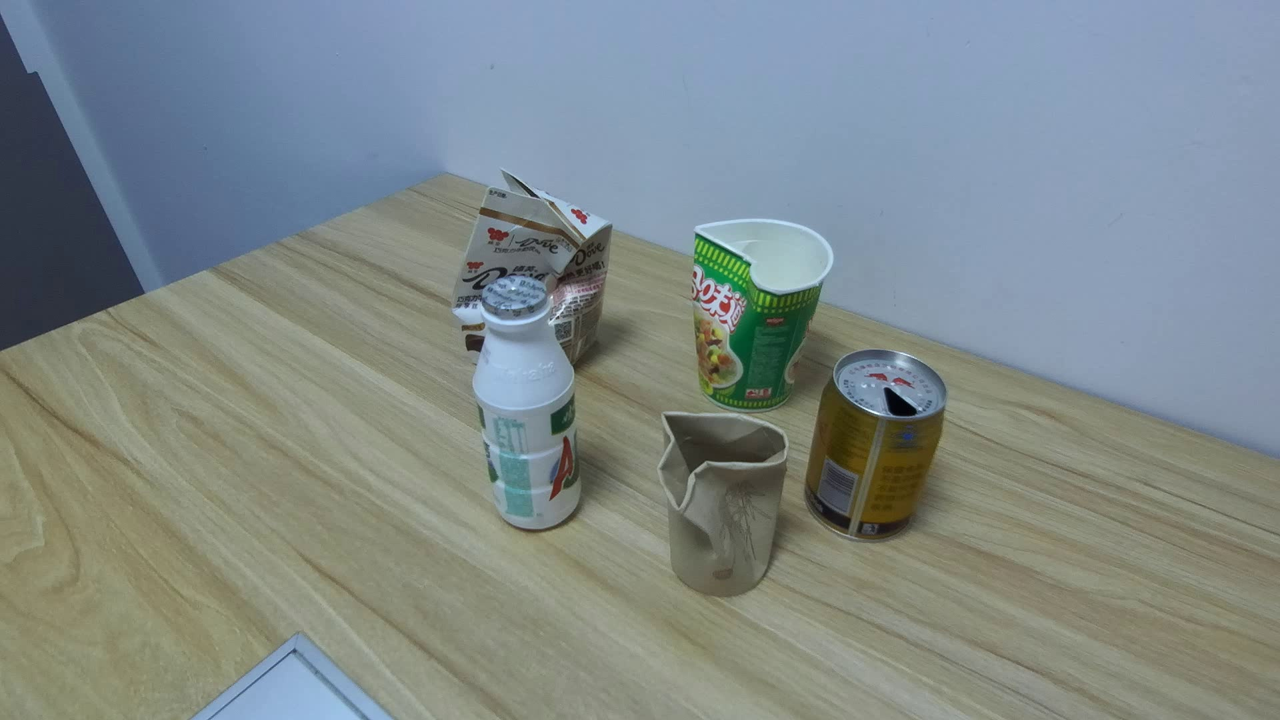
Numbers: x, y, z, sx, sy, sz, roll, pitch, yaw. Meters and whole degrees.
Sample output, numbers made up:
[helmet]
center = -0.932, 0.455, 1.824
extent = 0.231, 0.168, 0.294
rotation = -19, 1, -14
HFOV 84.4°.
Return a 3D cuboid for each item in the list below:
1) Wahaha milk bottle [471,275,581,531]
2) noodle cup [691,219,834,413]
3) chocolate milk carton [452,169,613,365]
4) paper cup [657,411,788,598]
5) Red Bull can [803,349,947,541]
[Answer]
[Wahaha milk bottle]
center = -0.061, 0.027, 0.383
extent = 0.053, 0.147, 0.053
rotation = -1, 36, 1
[noodle cup]
center = 0.081, -0.026, 0.481
extent = 0.087, 0.109, 0.093
rotation = -2, 37, -1
[chocolate milk carton]
center = -0.073, -0.059, 0.499
extent = 0.089, 0.155, 0.077
rotation = 25, 47, 9
[paper cup]
center = 0.043, 0.078, 0.366
extent = 0.066, 0.083, 0.058
rotation = 3, 41, 7
[Red Bull can]
center = 0.132, 0.047, 0.400
extent = 0.068, 0.093, 0.068
rotation = 1, 38, 0
